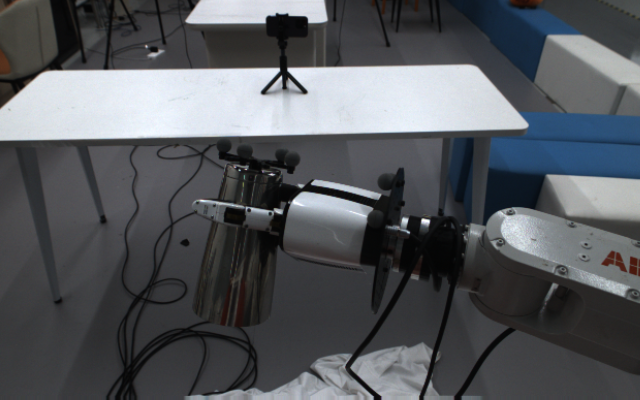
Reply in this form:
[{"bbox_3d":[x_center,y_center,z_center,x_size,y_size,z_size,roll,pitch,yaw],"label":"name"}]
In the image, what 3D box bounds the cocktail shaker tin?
[{"bbox_3d":[-0.085,0.045,0.558,0.093,0.170,0.093,10,9,-2],"label":"cocktail shaker tin"}]
